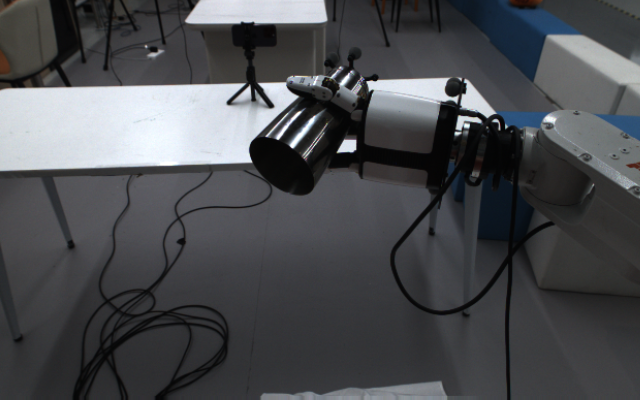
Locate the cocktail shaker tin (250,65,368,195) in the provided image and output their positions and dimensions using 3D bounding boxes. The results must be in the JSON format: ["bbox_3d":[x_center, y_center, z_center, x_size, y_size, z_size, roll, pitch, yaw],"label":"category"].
[{"bbox_3d":[-0.001,-0.101,0.613,0.093,0.093,0.170,19,55,23],"label":"cocktail shaker tin"}]
